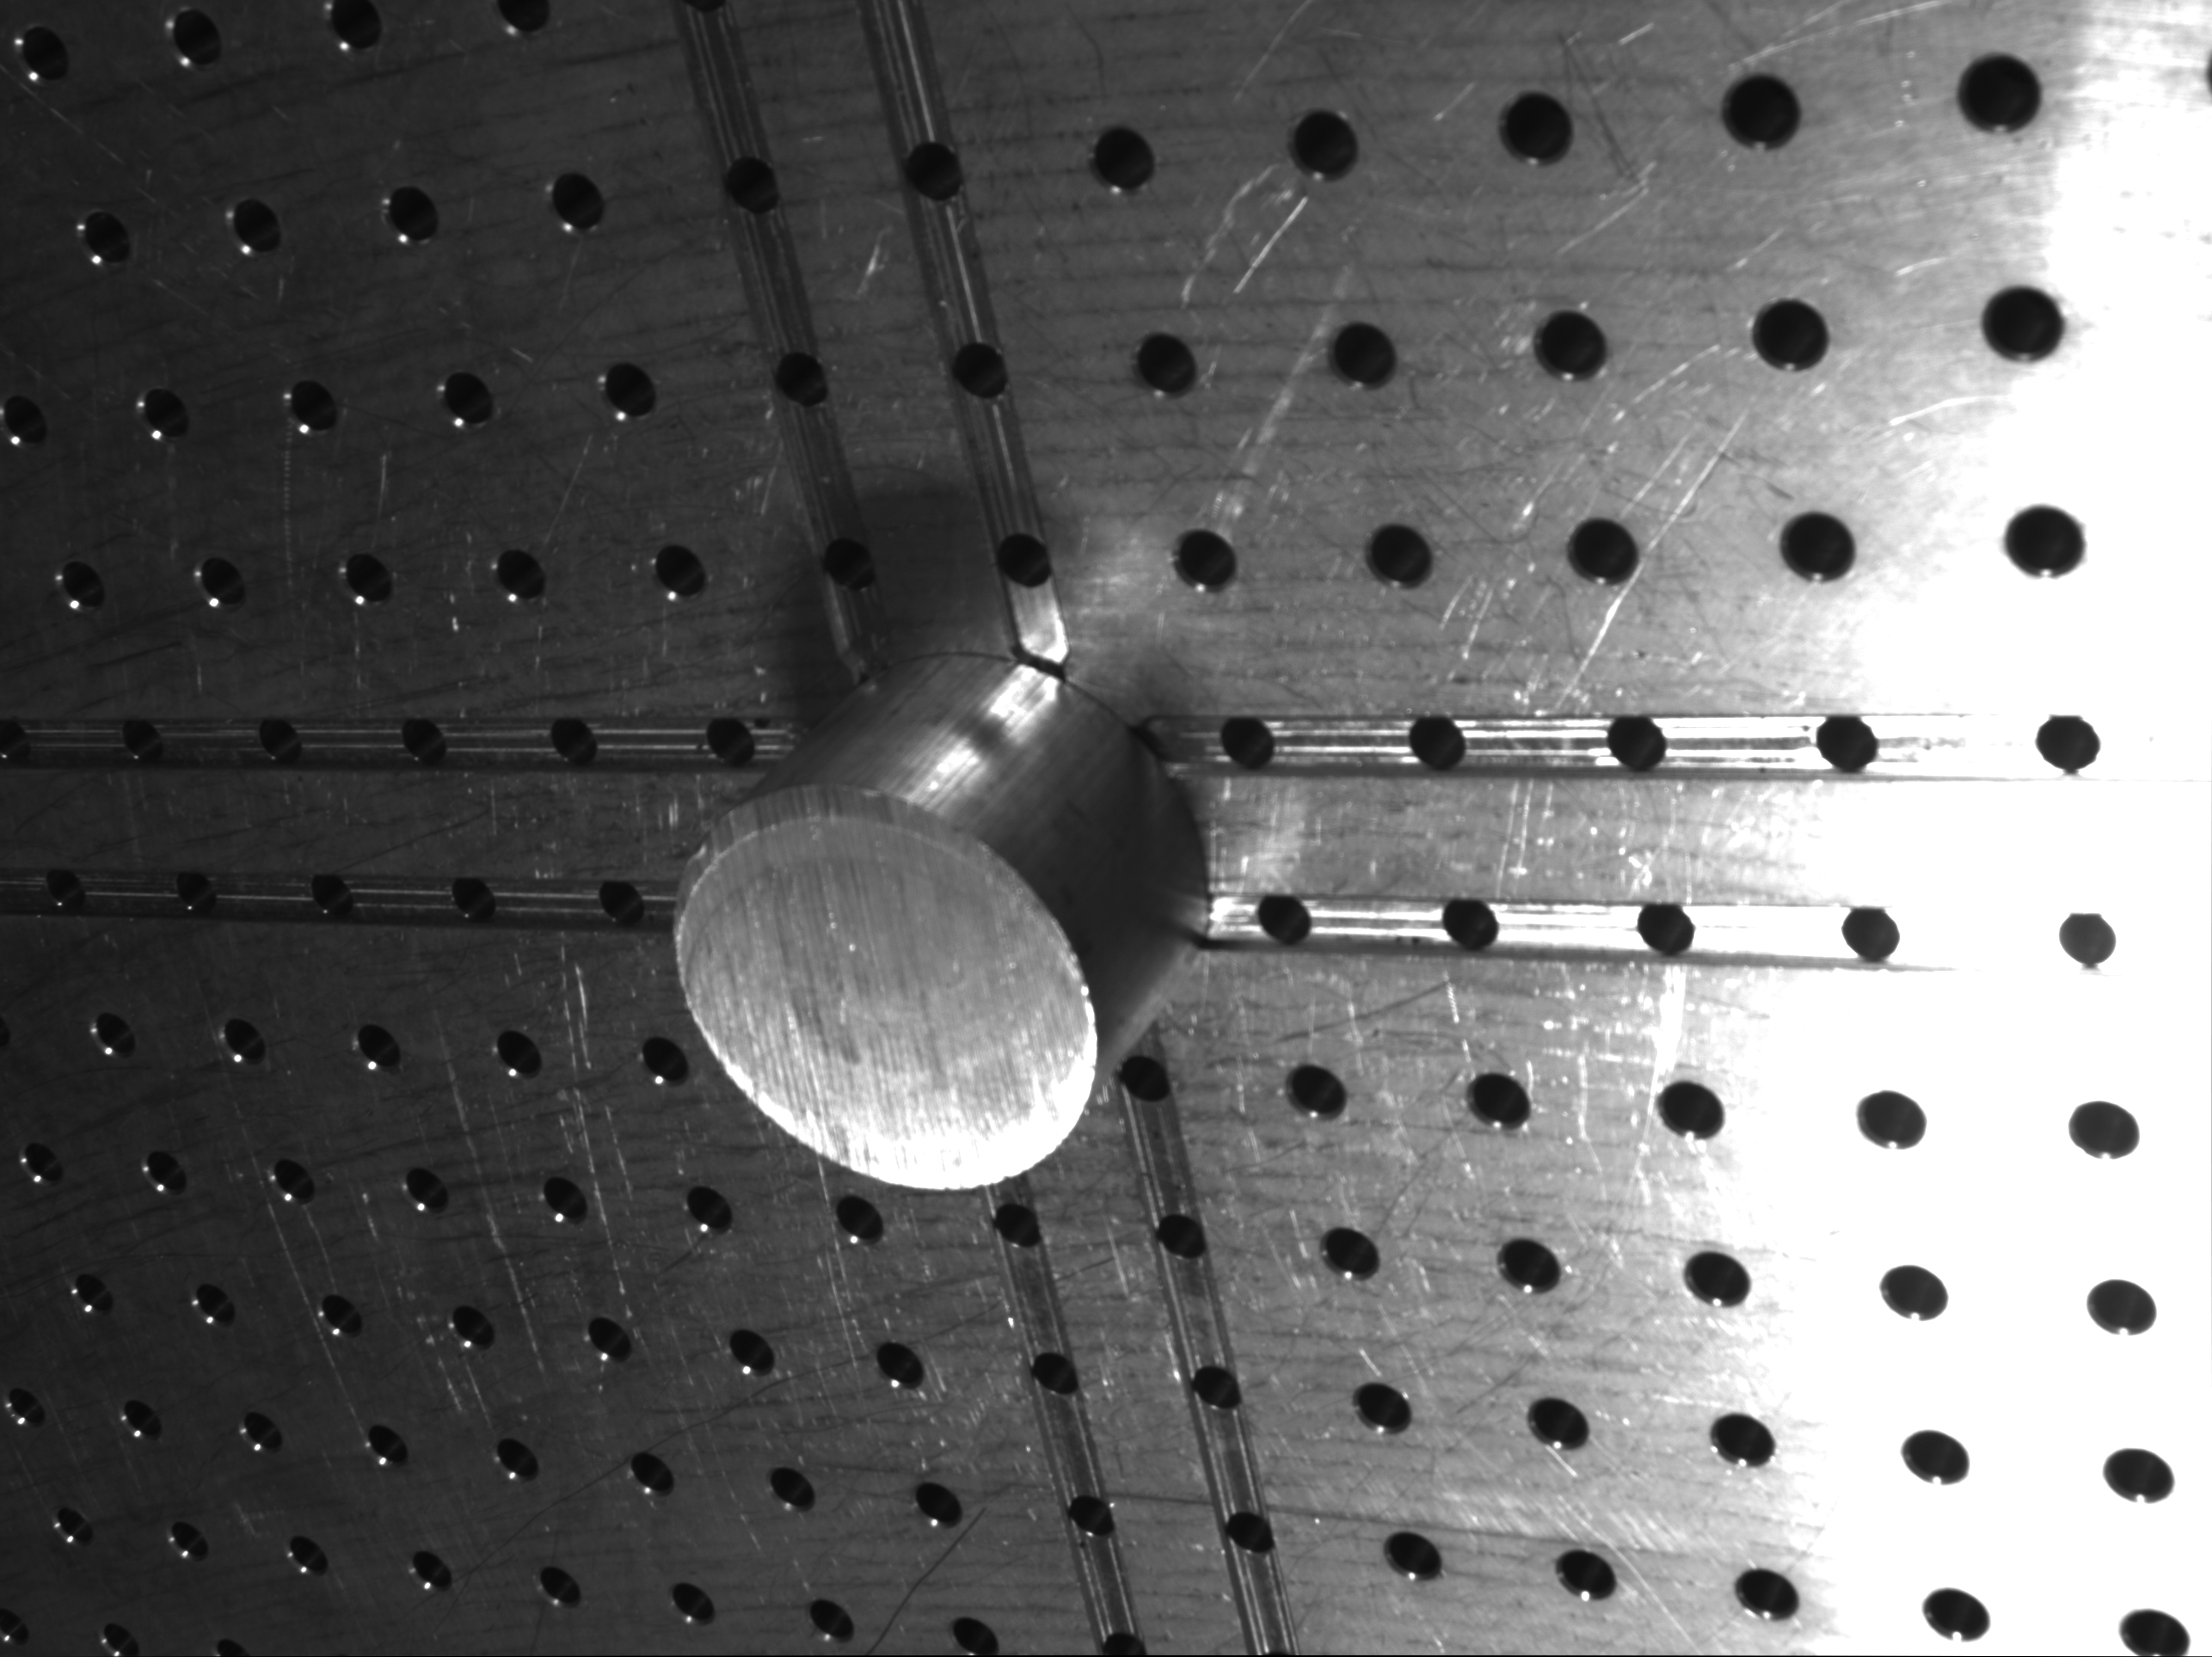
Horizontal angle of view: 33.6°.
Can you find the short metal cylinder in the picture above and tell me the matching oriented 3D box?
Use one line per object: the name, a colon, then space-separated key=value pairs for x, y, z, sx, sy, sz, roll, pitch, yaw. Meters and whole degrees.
short metal cylinder: x=-0.029 y=0.017 z=0.642 sx=0.080 sy=0.050 sz=0.080 roll=12 pitch=123 yaw=20
